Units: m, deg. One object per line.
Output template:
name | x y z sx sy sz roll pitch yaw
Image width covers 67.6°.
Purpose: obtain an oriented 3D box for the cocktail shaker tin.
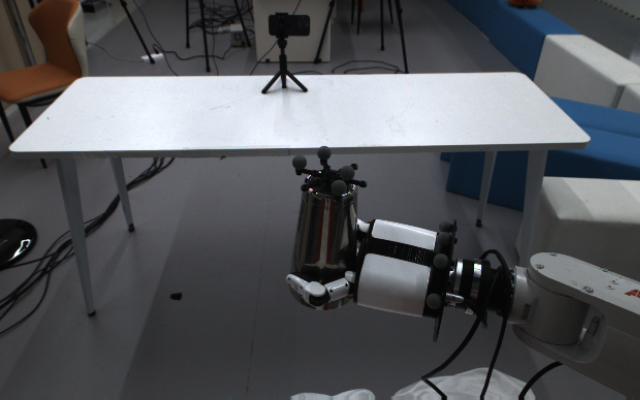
cocktail shaker tin | 0.008 0.049 0.627 0.093 0.170 0.093 3 34 -2
